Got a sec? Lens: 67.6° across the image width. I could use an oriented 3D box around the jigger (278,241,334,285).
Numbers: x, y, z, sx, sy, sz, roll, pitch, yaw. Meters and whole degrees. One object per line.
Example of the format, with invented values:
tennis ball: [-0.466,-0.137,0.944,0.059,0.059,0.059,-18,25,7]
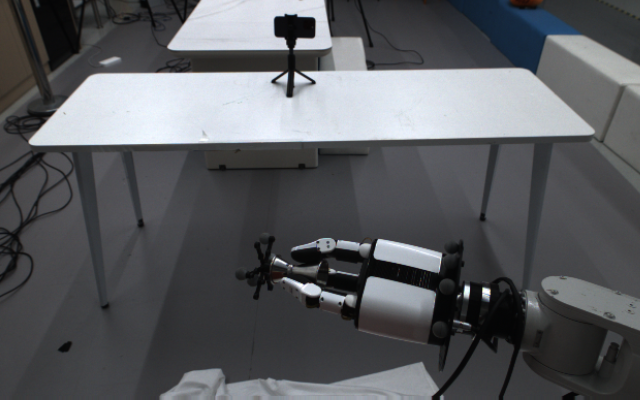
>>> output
jigger: [-0.019,0.088,0.635,0.071,0.043,0.043,4,34,21]
